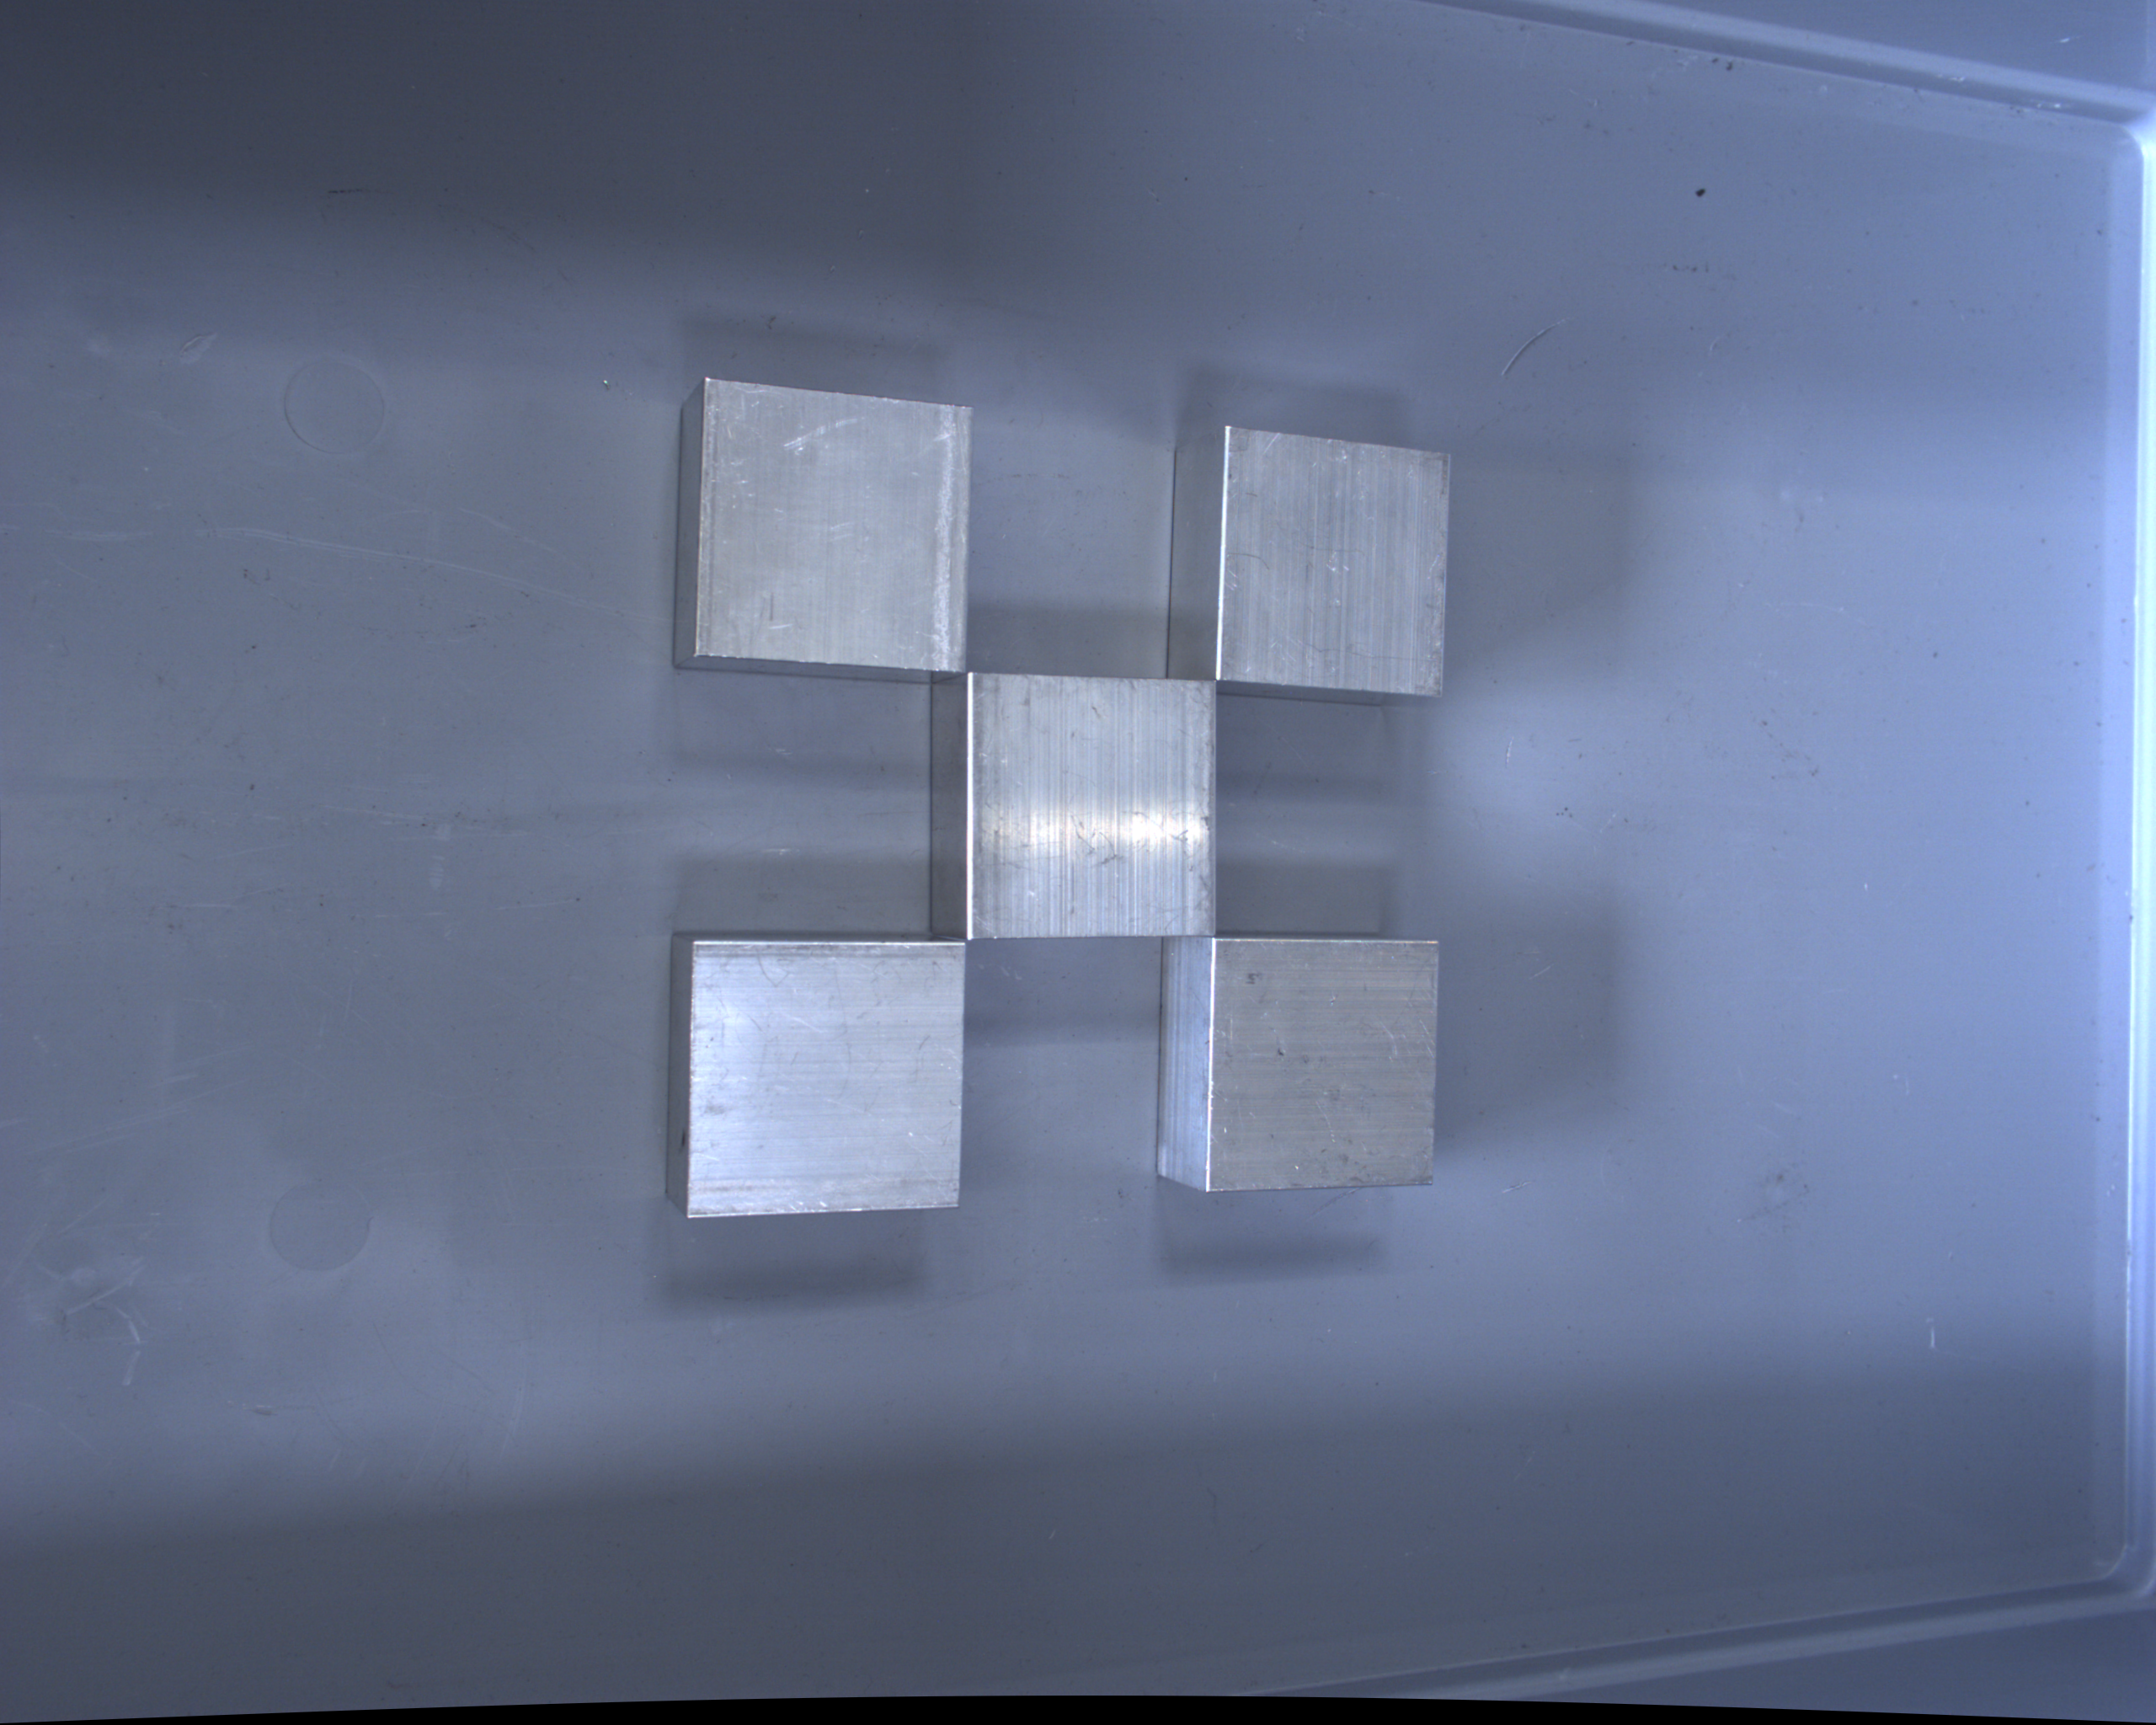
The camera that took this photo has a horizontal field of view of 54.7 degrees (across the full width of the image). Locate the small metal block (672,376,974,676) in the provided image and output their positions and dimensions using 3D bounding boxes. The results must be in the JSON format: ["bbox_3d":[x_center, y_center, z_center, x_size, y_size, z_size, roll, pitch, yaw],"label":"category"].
[{"bbox_3d":[-0.048,-0.061,0.391,0.050,0.025,0.050,2,90,-20],"label":"small metal block"}]

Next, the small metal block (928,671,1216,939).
[{"bbox_3d":[-0.001,-0.011,0.407,0.050,0.025,0.050,0,90,-20],"label":"small metal block"}]

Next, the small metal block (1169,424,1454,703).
[{"bbox_3d":[0.047,-0.059,0.425,0.050,0.025,0.050,3,89,-20],"label":"small metal block"}]

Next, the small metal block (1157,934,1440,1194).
[{"bbox_3d":[0.045,0.040,0.424,0.050,0.025,0.050,1,90,-20],"label":"small metal block"}]

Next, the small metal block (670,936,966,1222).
[{"bbox_3d":[-0.049,0.039,0.390,0.050,0.025,0.050,1,90,-20],"label":"small metal block"}]
